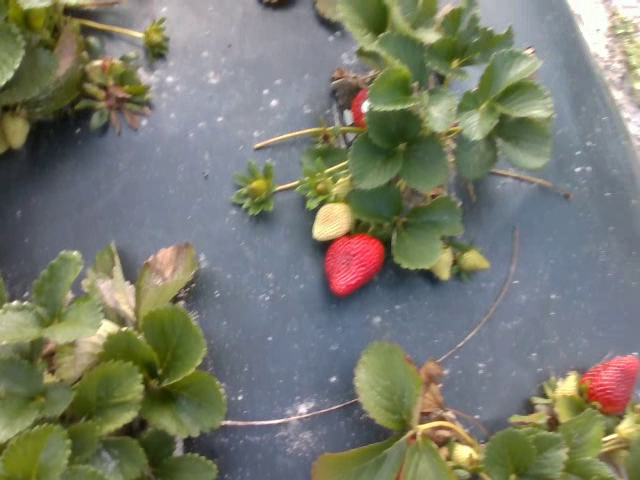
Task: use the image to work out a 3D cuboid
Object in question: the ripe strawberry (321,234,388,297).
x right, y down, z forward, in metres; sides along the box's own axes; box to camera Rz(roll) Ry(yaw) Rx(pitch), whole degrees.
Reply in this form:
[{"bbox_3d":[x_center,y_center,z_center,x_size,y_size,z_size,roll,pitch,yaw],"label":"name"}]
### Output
[{"bbox_3d":[0.021,0.023,0.494,0.051,0.048,0.055,2,37,33],"label":"ripe strawberry"}]
